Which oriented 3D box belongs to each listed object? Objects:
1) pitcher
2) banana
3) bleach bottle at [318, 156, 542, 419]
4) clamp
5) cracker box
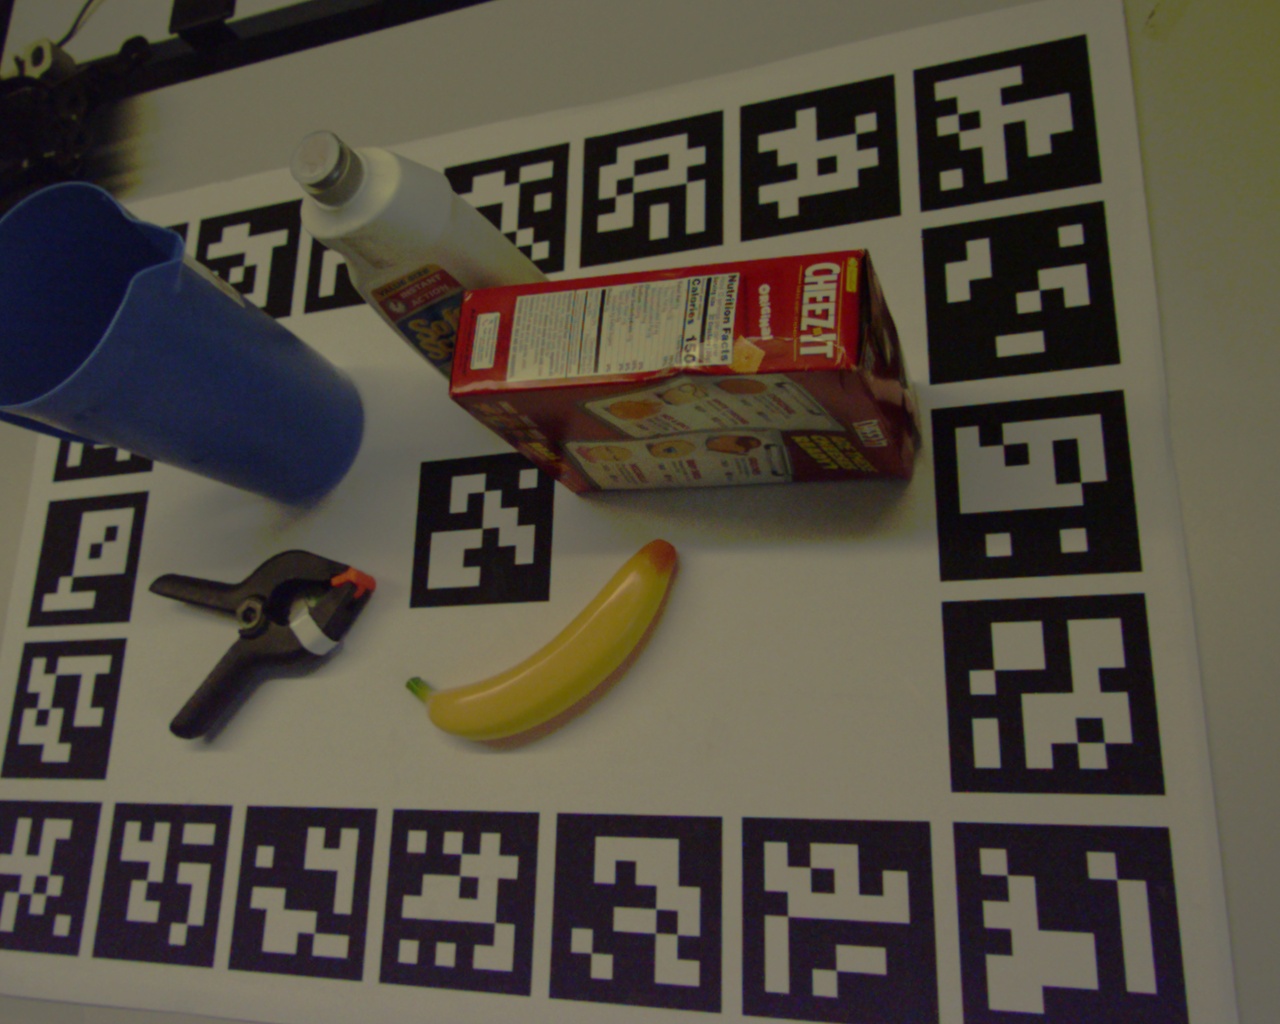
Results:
[{"bbox_3d":[-0.304,-0.088,0.748,0.190,0.240,0.134,-22,65,11],"label":"pitcher"},{"bbox_3d":[-0.046,0.081,0.732,0.198,0.038,0.075,-37,62,7],"label":"banana"},{"bbox_3d":[-0.121,-0.136,0.709,0.103,0.248,0.068,-5,70,21],"label":"bleach bottle"},{"bbox_3d":[-0.254,0.074,0.813,0.166,0.036,0.122,-21,65,13],"label":"clamp"},{"bbox_3d":[0.032,-0.069,0.654,0.216,0.162,0.072,-4,69,23],"label":"cracker box"}]
